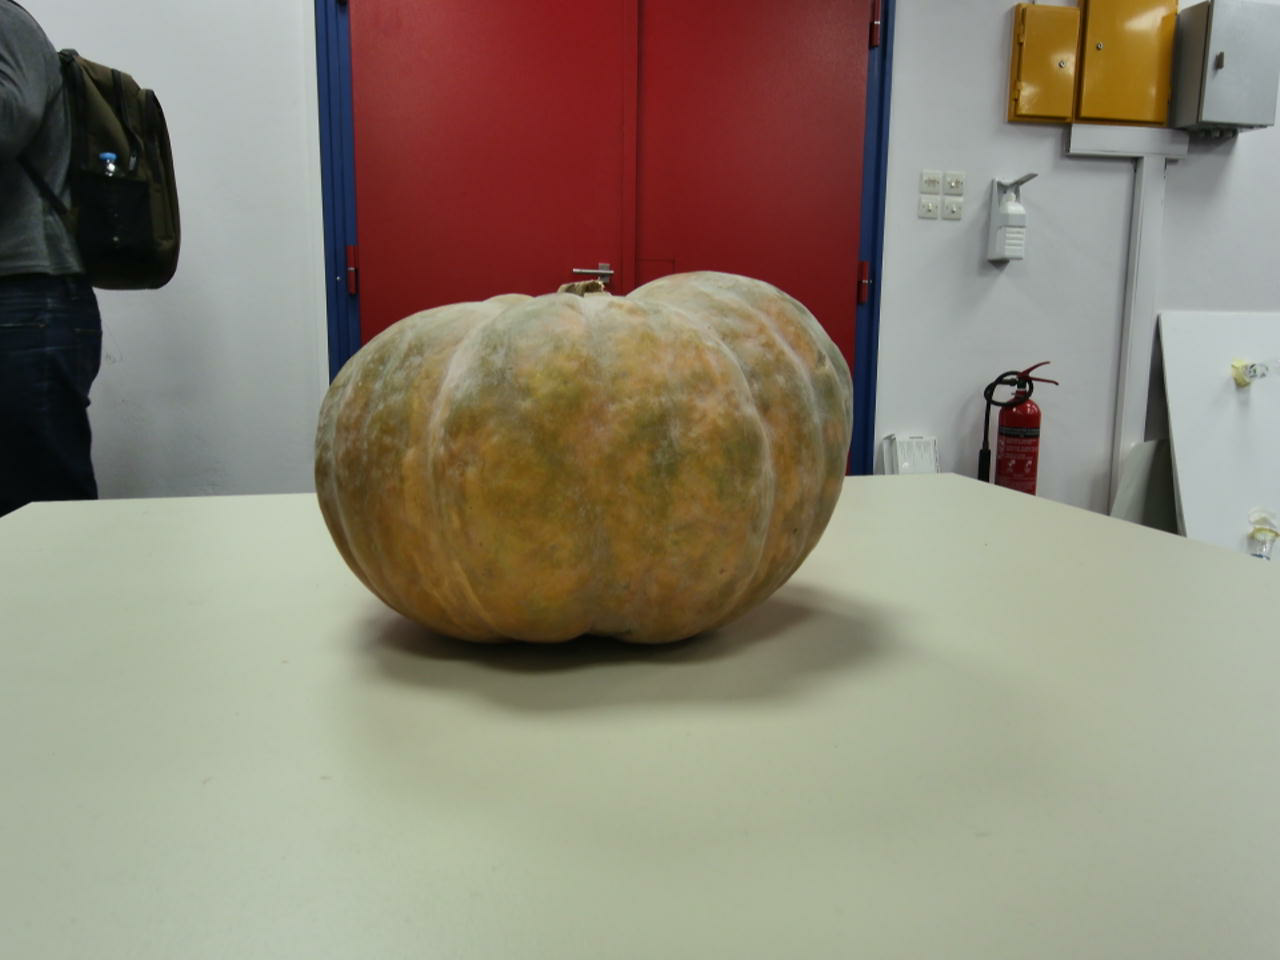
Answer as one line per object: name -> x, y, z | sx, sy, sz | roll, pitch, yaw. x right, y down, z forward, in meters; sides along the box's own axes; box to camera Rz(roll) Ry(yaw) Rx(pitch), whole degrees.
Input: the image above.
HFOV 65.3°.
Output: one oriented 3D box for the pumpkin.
pumpkin -> -0.028, -0.014, 0.479 | 0.252, 0.168, 0.252 | 0, 7, 0
